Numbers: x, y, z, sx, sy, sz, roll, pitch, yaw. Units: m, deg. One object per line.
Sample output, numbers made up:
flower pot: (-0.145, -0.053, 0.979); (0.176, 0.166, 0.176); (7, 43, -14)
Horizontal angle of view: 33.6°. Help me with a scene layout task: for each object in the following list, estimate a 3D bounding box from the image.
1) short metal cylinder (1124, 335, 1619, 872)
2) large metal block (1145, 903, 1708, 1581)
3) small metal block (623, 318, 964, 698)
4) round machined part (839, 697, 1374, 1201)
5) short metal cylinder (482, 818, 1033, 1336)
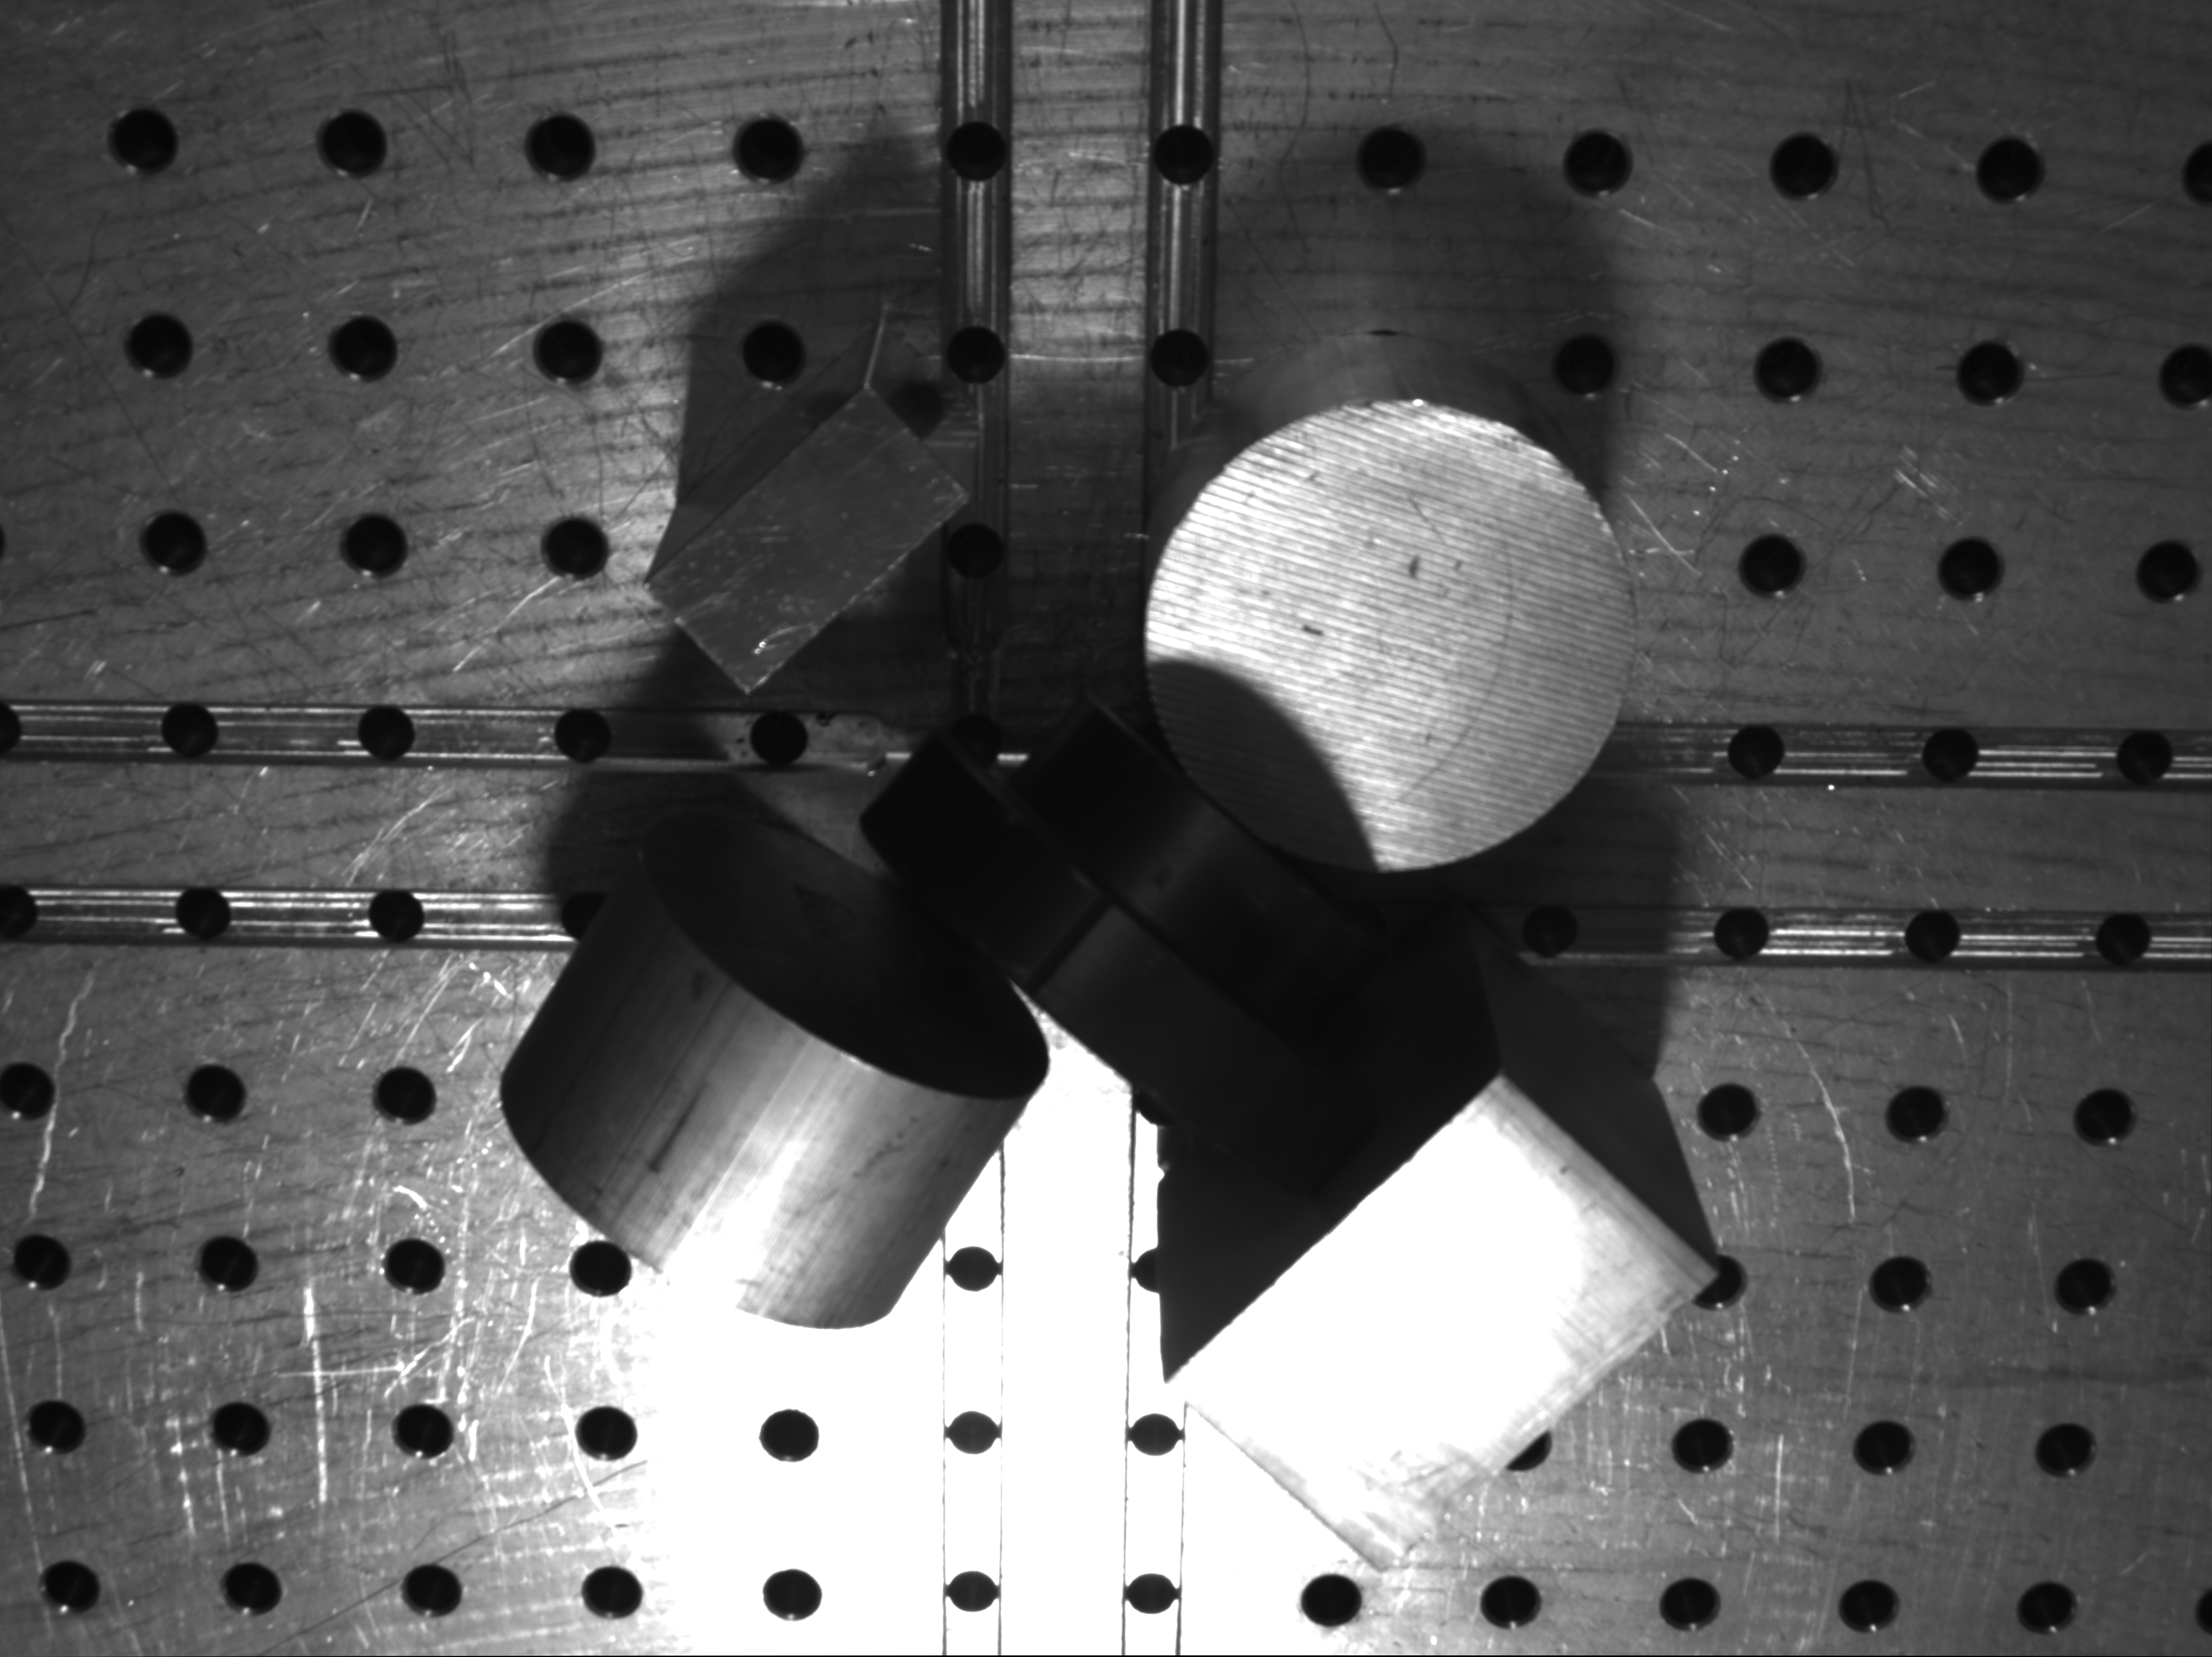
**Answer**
short metal cylinder: (0.043, -0.039, 0.618); (0.080, 0.050, 0.080); (0, 110, -1)
large metal block: (0.053, 0.071, 0.643); (0.050, 0.080, 0.080); (42, 104, -14)
small metal block: (-0.051, -0.054, 0.612); (0.050, 0.050, 0.025); (-40, 105, 13)
round machined part: (0.006, 0.015, 0.613); (0.098, 0.098, 0.042); (40, 93, -13)
short metal cylinder: (-0.060, 0.042, 0.630); (0.080, 0.080, 0.050); (30, 107, -11)
